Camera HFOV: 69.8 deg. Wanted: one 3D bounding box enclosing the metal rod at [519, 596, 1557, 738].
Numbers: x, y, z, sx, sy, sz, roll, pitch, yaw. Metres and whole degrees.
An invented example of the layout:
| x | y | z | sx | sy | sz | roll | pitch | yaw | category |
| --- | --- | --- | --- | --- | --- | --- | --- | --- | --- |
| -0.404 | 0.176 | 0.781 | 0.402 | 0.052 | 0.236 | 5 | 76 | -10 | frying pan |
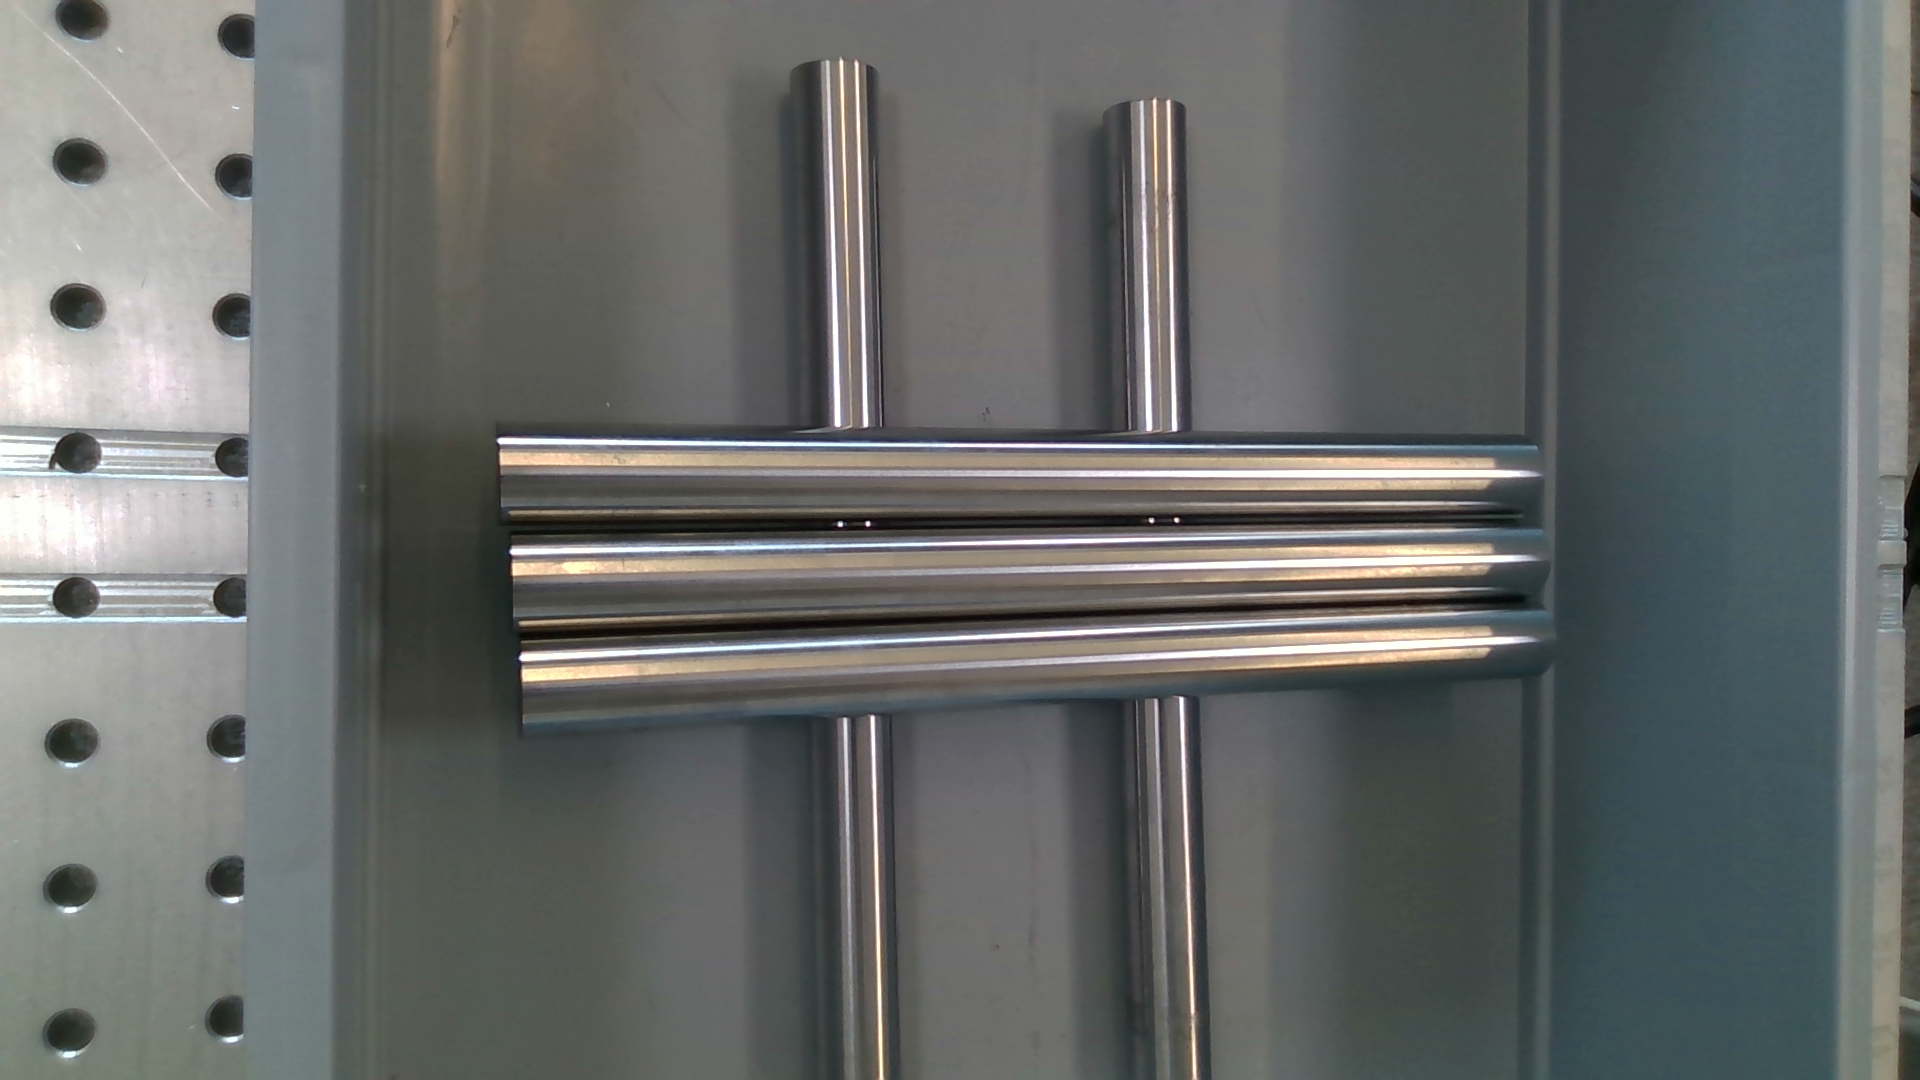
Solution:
| x | y | z | sx | sy | sz | roll | pitch | yaw | category |
| --- | --- | --- | --- | --- | --- | --- | --- | --- | --- |
| 0.037 | 0.032 | 0.379 | 0.300 | 0.025 | 0.025 | -1 | 90 | -20 | metal rod |

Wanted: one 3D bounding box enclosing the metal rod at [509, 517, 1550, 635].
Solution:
| x | y | z | sx | sy | sz | roll | pitch | yaw | category |
| --- | --- | --- | --- | --- | --- | --- | --- | --- | --- |
| 0.034 | 0.008 | 0.378 | 0.300 | 0.025 | 0.025 | -1 | 90 | -20 | metal rod |

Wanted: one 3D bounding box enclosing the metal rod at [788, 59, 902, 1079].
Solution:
| x | y | z | sx | sy | sz | roll | pitch | yaw | category |
| --- | --- | --- | --- | --- | --- | --- | --- | --- | --- |
| -0.031 | 0.021 | 0.382 | 0.025 | 0.025 | 0.300 | -2 | 91 | -20 | metal rod |

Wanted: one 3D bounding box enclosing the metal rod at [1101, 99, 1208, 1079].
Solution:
| x | y | z | sx | sy | sz | roll | pitch | yaw | category |
| --- | --- | --- | --- | --- | --- | --- | --- | --- | --- |
| 0.059 | 0.021 | 0.415 | 0.025 | 0.025 | 0.300 | -2 | 91 | -20 | metal rod |

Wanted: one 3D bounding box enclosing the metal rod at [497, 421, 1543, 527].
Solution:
| x | y | z | sx | sy | sz | roll | pitch | yaw | category |
| --- | --- | --- | --- | --- | --- | --- | --- | --- | --- |
| 0.032 | -0.018 | 0.377 | 0.300 | 0.025 | 0.025 | -1 | 90 | -20 | metal rod |
